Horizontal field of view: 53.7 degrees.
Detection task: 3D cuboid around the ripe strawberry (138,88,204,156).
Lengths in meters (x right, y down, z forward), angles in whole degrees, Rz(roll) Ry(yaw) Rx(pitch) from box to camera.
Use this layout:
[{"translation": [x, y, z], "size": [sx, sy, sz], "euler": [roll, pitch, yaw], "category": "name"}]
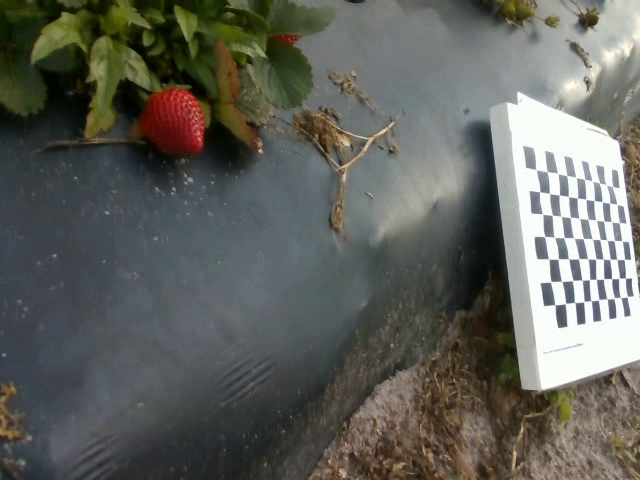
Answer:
[{"translation": [-0.090, -0.070, 0.394], "size": [0.043, 0.051, 0.043], "euler": [-21, -23, -44], "category": "ripe strawberry"}]
